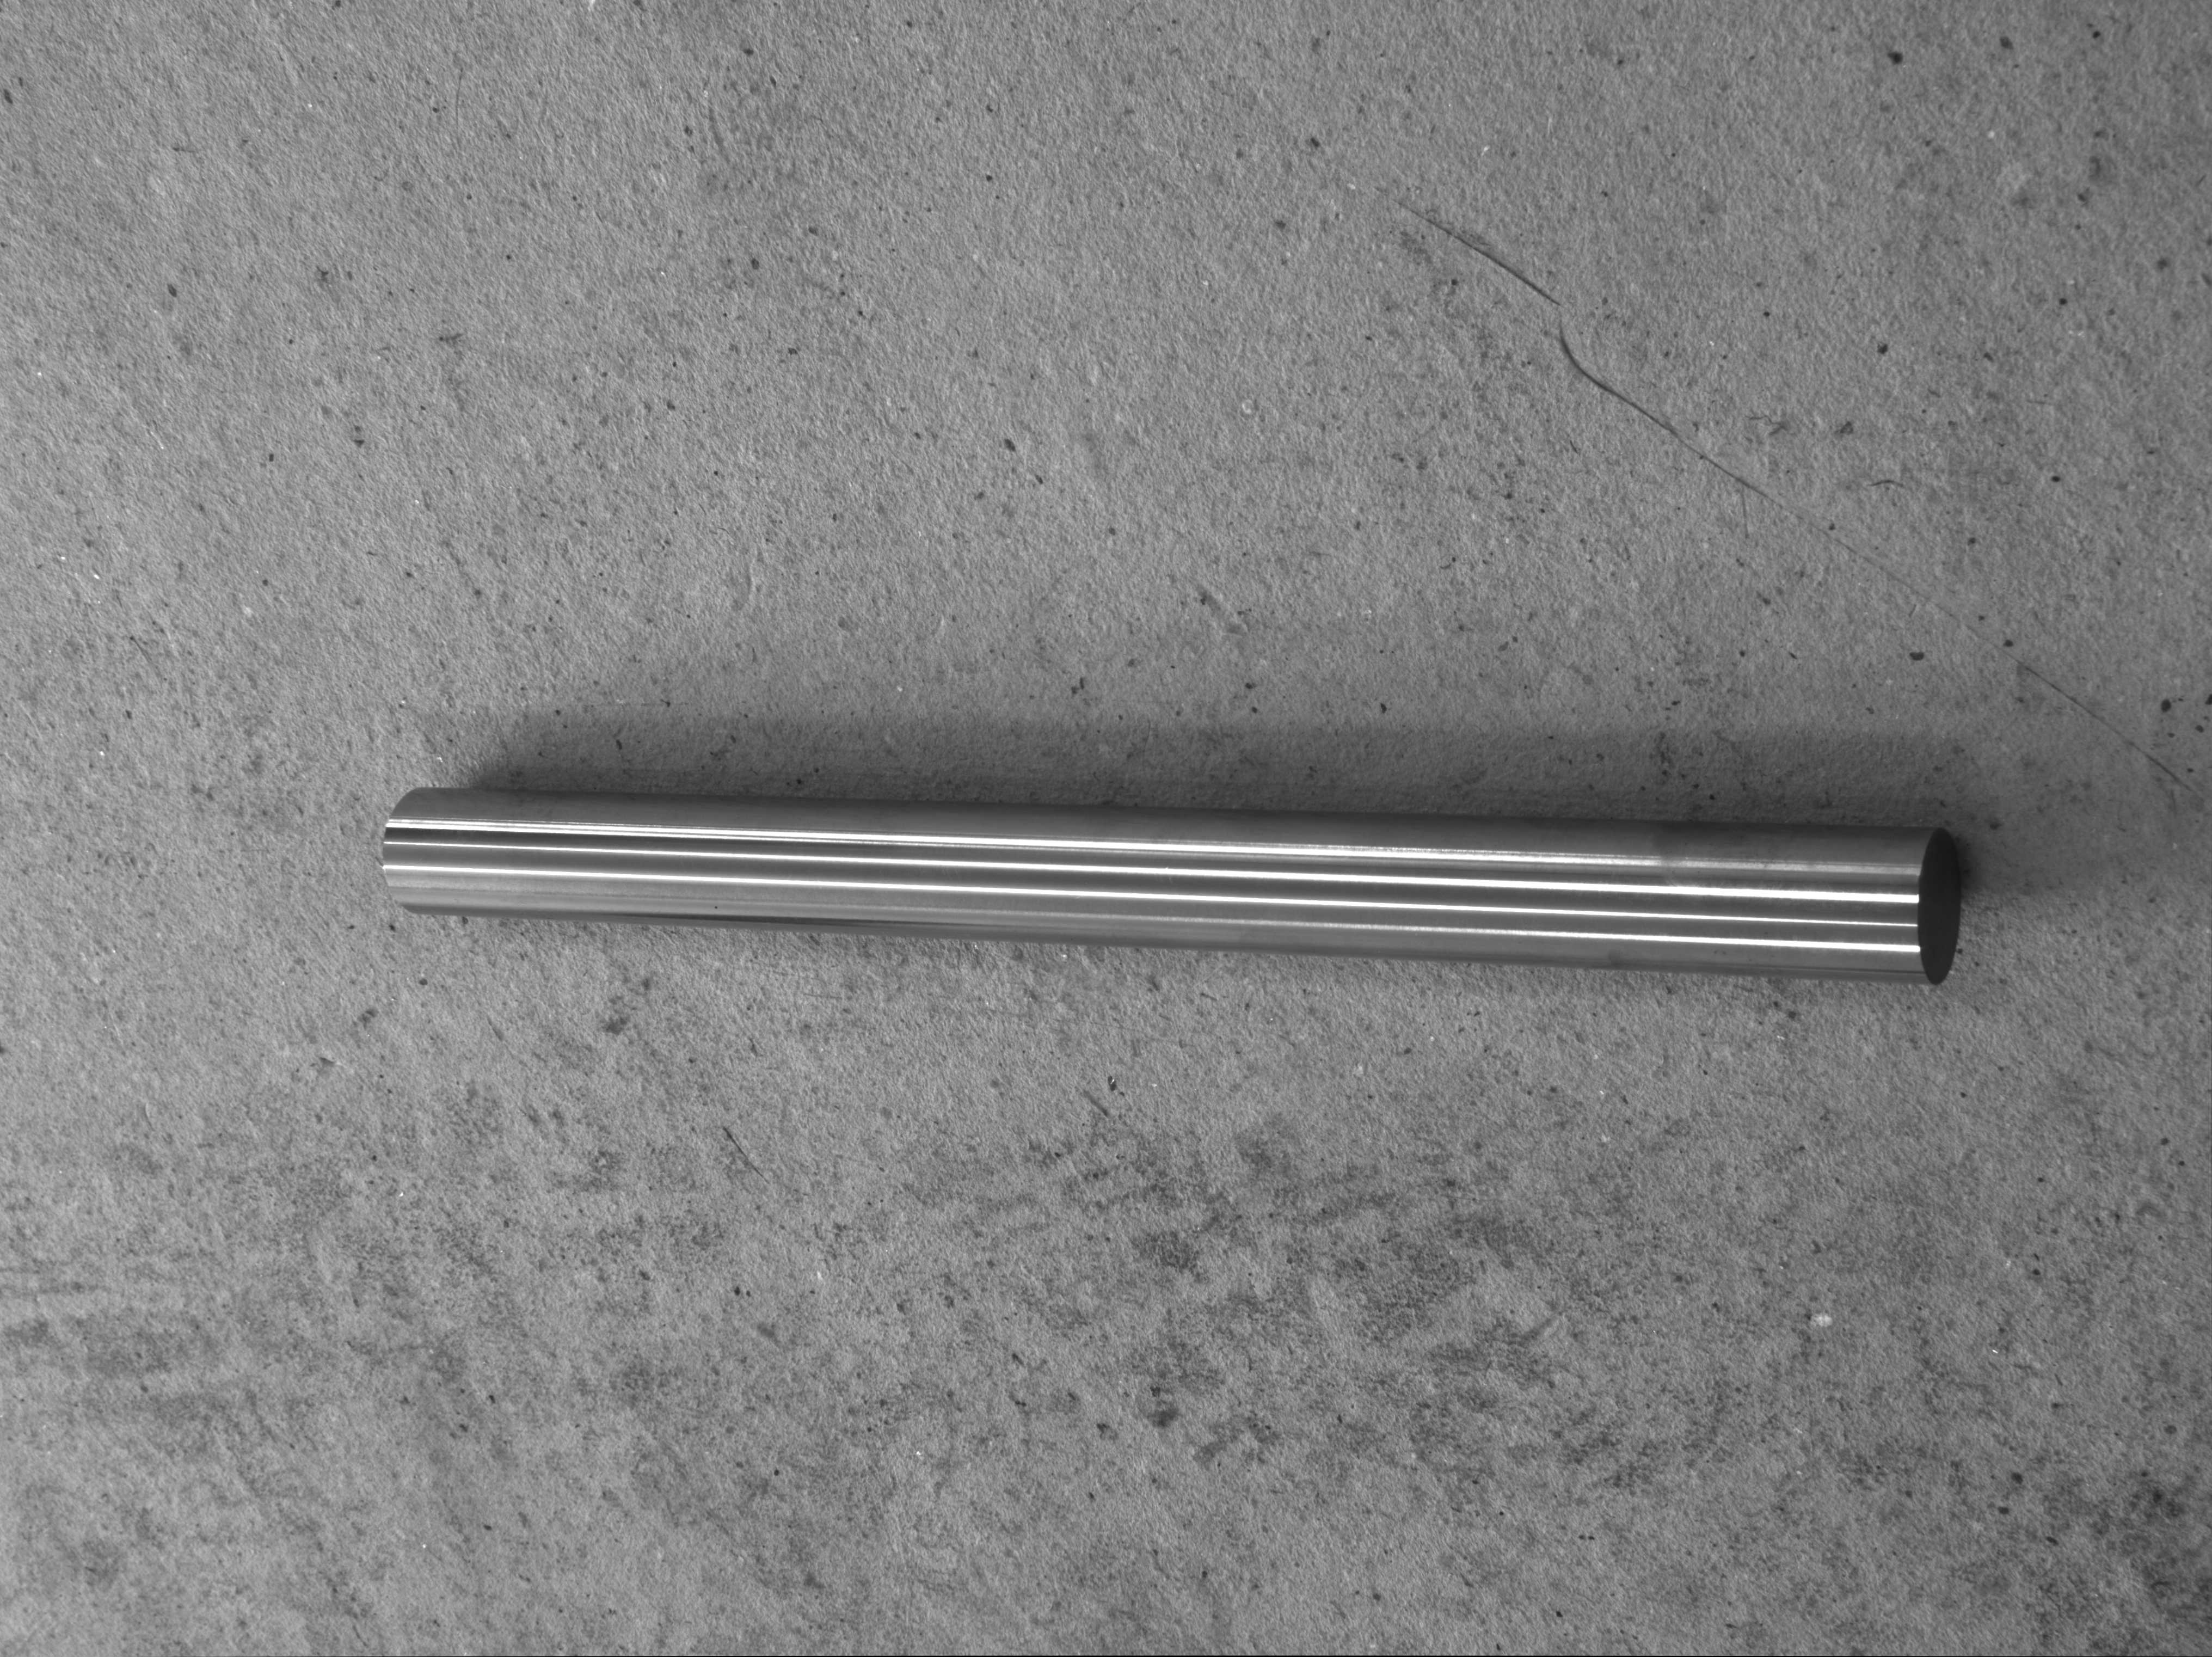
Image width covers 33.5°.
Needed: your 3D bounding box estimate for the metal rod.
[{"bbox_3d":[-0.002,0.008,0.649,0.299,0.025,0.025,2,119,27],"label":"metal rod"}]
